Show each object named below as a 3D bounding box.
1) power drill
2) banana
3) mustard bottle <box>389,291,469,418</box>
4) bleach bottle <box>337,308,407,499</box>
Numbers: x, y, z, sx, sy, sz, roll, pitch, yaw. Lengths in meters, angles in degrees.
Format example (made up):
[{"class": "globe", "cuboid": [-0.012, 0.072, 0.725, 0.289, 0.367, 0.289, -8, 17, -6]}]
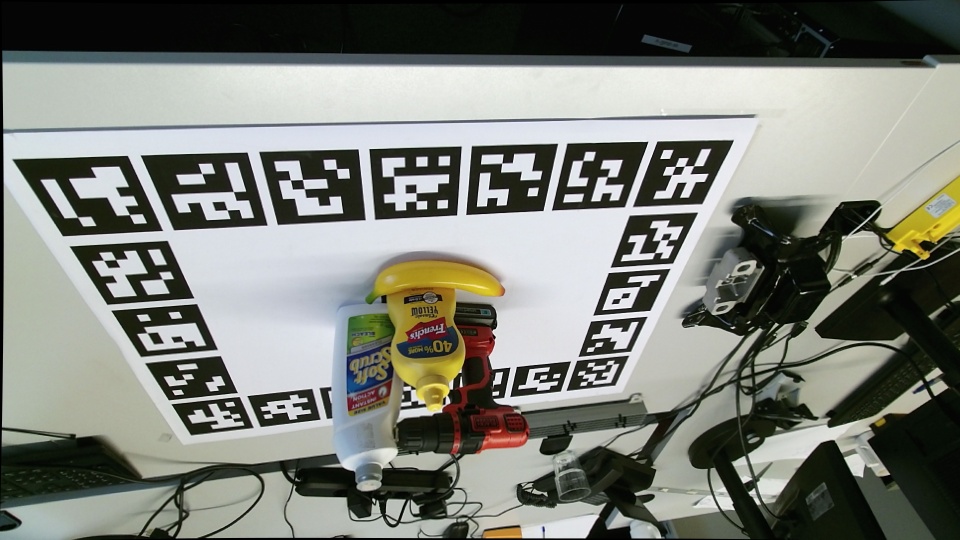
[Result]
[{"class": "power drill", "cuboid": [-0.028, 0.167, 0.737, 0.185, 0.186, 0.057, 6, 132, -18]}, {"class": "banana", "cuboid": [-0.059, 0.024, 0.739, 0.198, 0.038, 0.074, -2, 132, -16]}, {"class": "mustard bottle", "cuboid": [-0.066, 0.104, 0.695, 0.096, 0.190, 0.058, -3, 133, -11]}, {"class": "bleach bottle", "cuboid": [-0.135, 0.167, 0.704, 0.103, 0.249, 0.068, -2, 139, -13]}]
